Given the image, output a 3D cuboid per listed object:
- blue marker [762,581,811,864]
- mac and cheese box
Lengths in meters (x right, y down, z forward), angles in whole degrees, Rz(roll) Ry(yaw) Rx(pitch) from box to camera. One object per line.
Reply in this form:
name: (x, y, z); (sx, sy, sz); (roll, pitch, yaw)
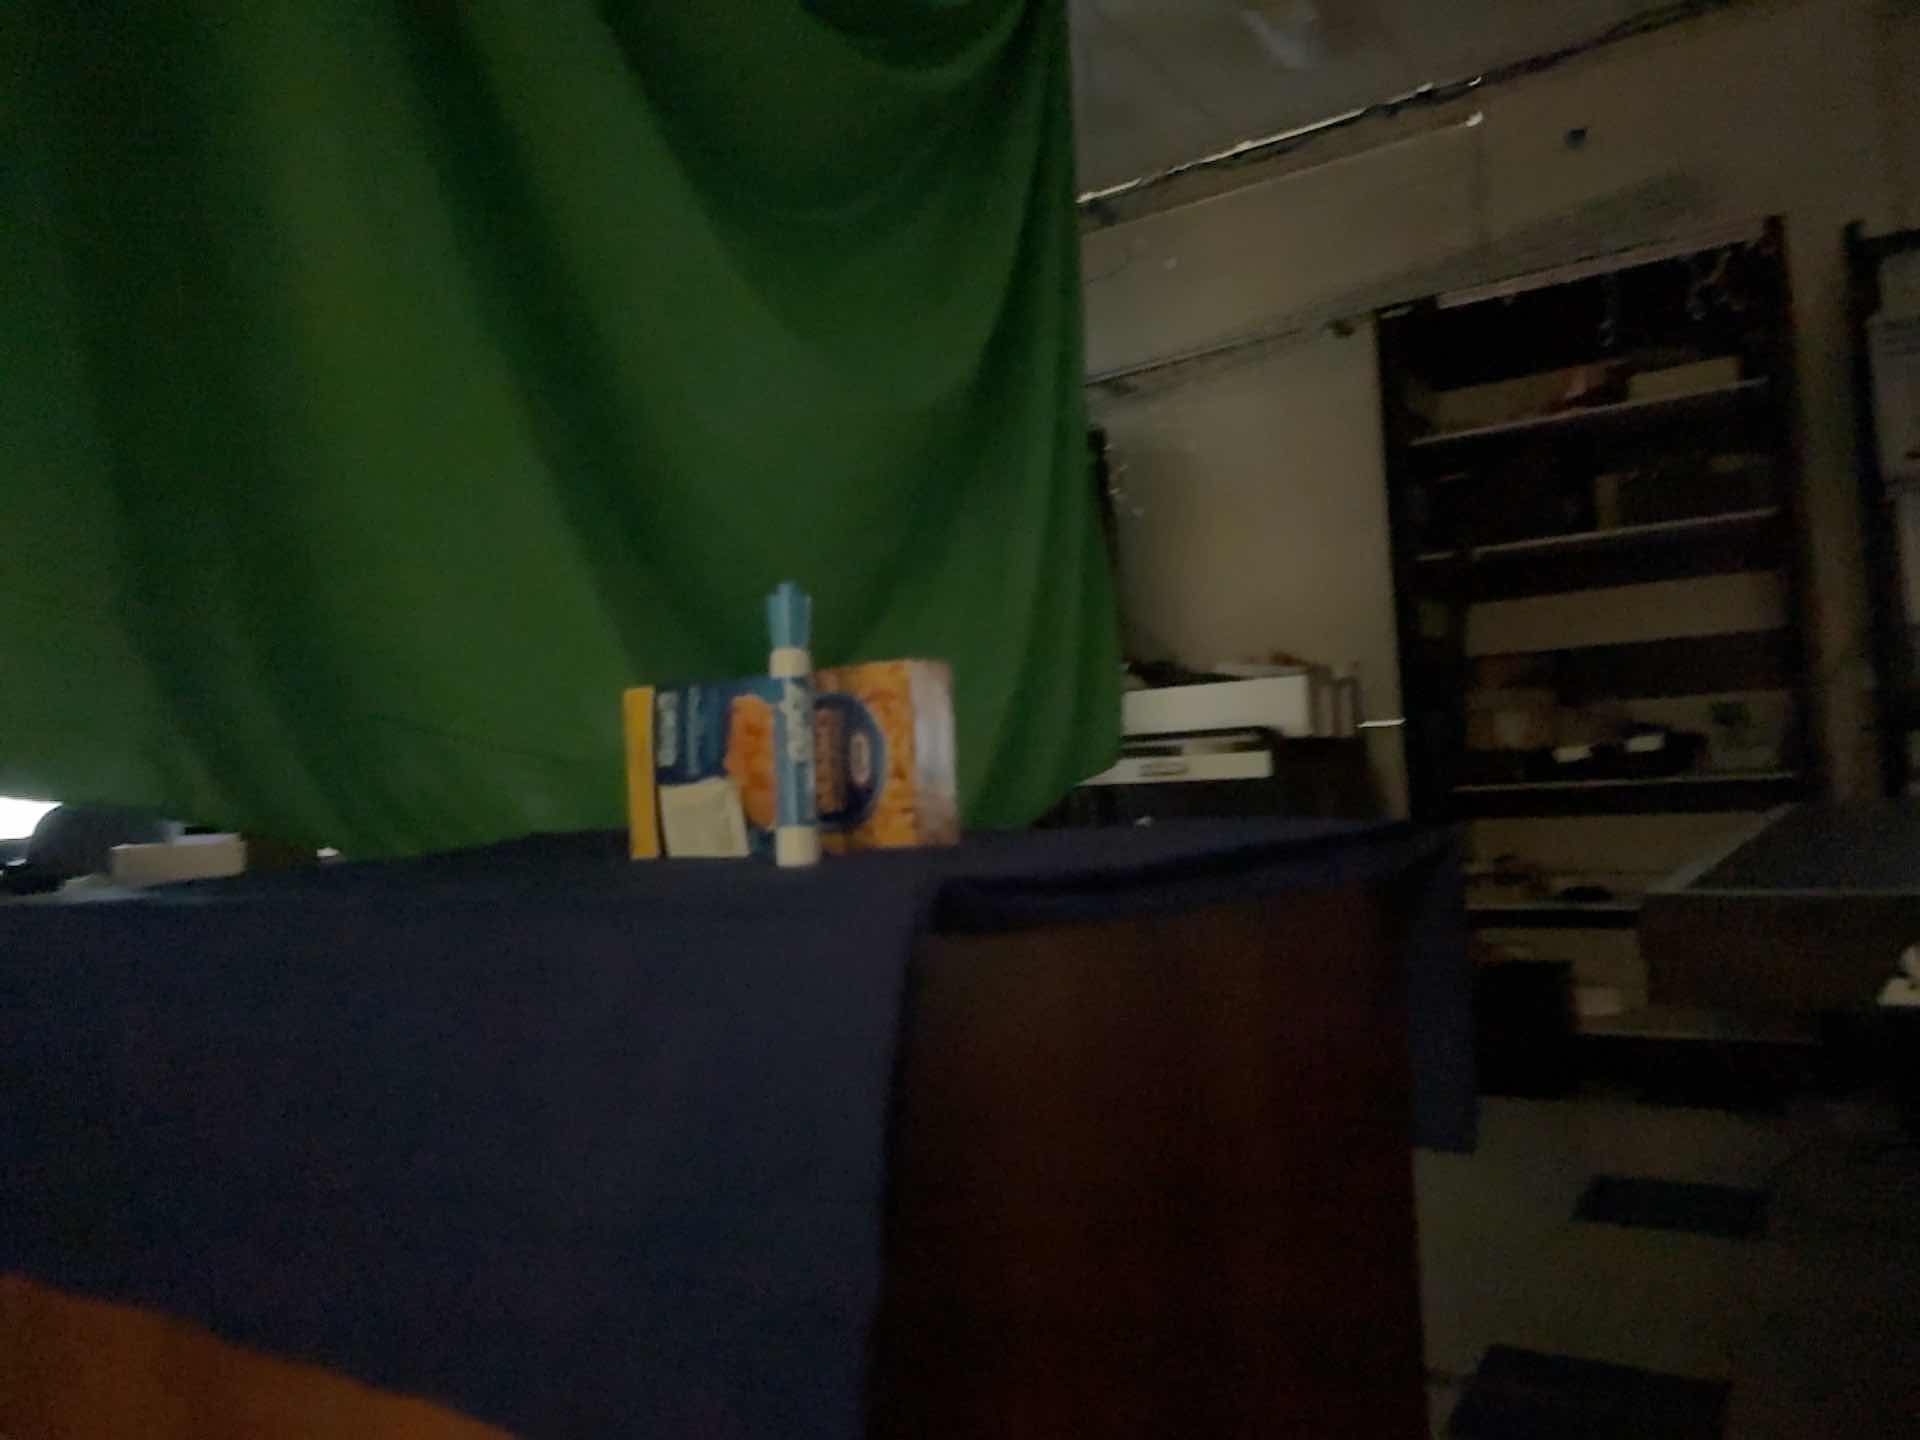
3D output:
blue marker: (-0.075, 0.001, 0.579); (0.020, 0.121, 0.020); (-1, -2, 0)
mac and cheese box: (-0.095, 0.020, 0.672); (0.181, 0.088, 0.035); (-5, -4, 31)
